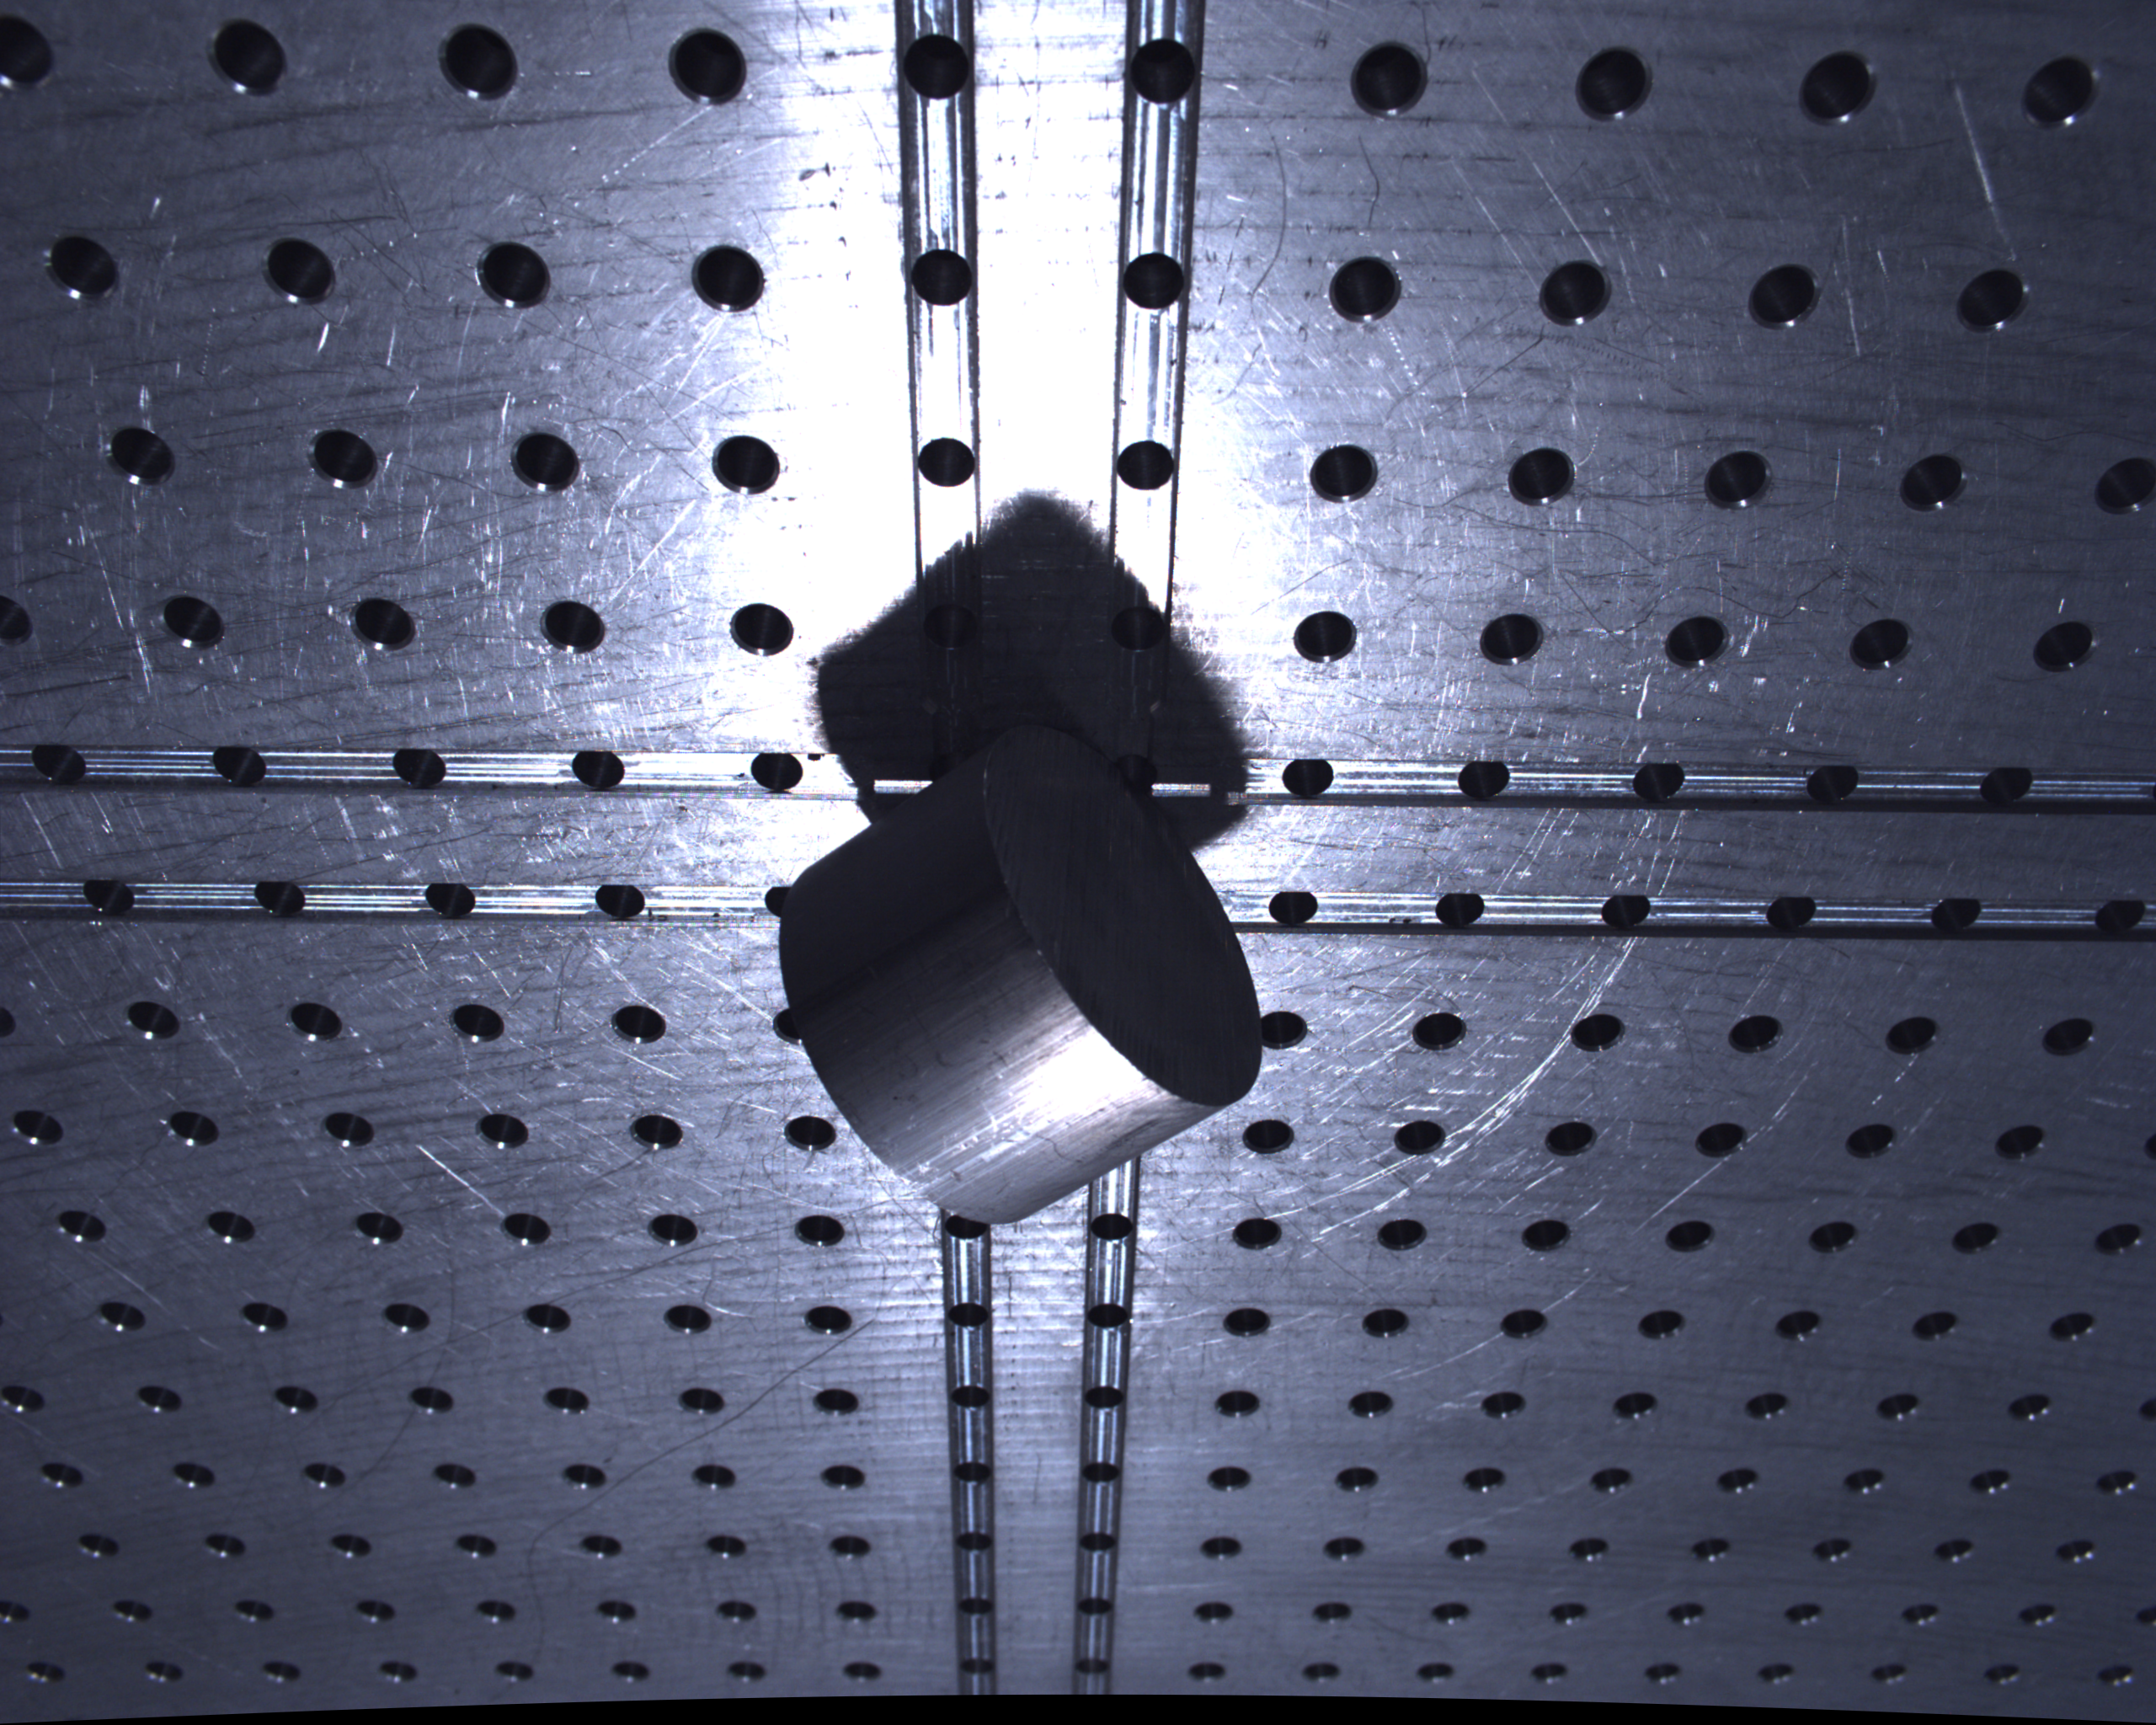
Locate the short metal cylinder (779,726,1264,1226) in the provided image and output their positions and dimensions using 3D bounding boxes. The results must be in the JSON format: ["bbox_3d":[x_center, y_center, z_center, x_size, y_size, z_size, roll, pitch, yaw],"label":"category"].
[{"bbox_3d":[-0.009,0.021,0.393,0.050,0.080,0.080,-33,123,24],"label":"short metal cylinder"}]
